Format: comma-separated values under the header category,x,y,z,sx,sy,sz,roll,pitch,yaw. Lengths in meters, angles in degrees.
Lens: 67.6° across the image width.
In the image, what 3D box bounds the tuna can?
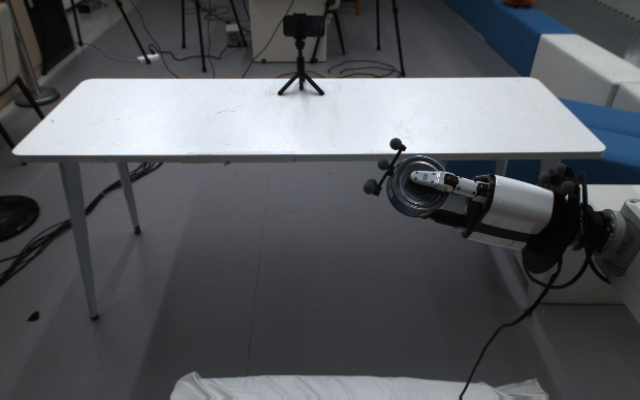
category,x,y,z,sx,sy,sz,roll,pitch,yaw
tuna can,0.143,-0.021,0.694,0.085,0.034,0.085,1,75,-5
